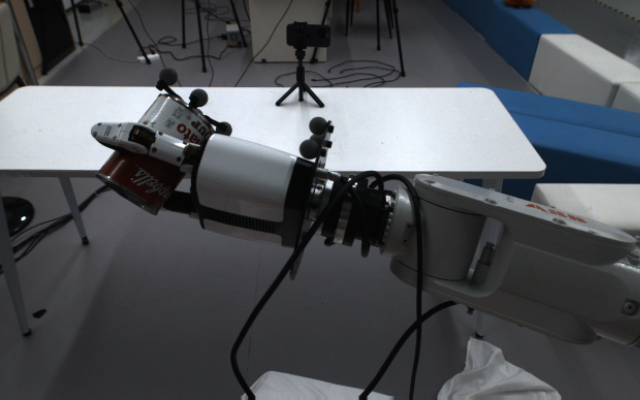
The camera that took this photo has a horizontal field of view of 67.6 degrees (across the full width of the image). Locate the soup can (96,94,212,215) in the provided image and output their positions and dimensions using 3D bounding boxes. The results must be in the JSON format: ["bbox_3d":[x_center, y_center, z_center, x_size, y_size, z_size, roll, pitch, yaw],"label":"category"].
[{"bbox_3d":[-0.159,-0.044,0.477,0.067,0.067,0.101,24,72,28],"label":"soup can"}]
